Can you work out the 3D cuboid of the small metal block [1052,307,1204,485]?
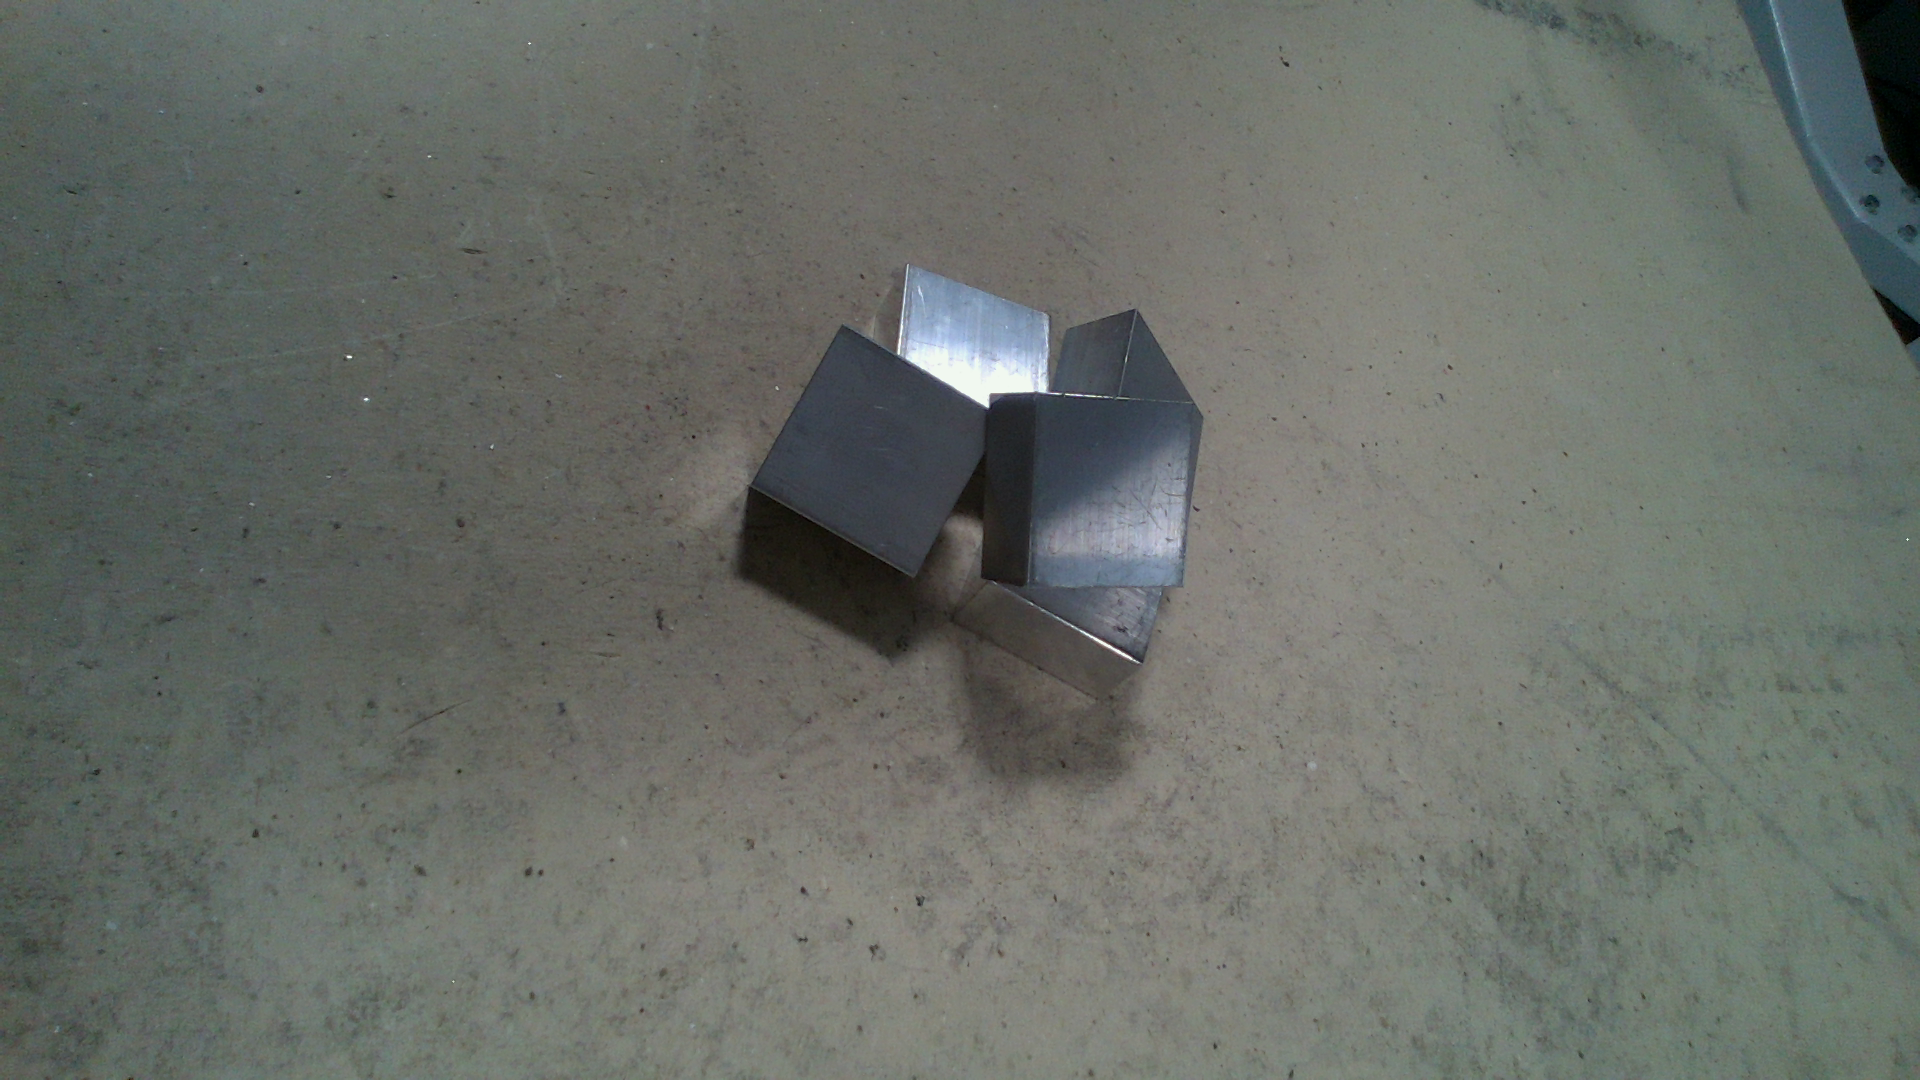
[{"bbox_3d":[0.051,-0.034,0.423,0.050,0.025,0.050,50,42,-38],"label":"small metal block"}]

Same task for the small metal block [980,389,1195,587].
[{"bbox_3d":[0.034,-0.014,0.370,0.050,0.025,0.050,0,94,-28],"label":"small metal block"}]

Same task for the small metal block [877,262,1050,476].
[{"bbox_3d":[-0.001,-0.051,0.421,0.050,0.025,0.050,16,55,-19],"label":"small metal block"}]

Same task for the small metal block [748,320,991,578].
[{"bbox_3d":[-0.024,-0.024,0.377,0.050,0.025,0.050,30,88,-10],"label":"small metal block"}]

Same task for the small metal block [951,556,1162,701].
[{"bbox_3d":[0.031,0.010,0.401,0.050,0.025,0.050,29,52,-10],"label":"small metal block"}]
